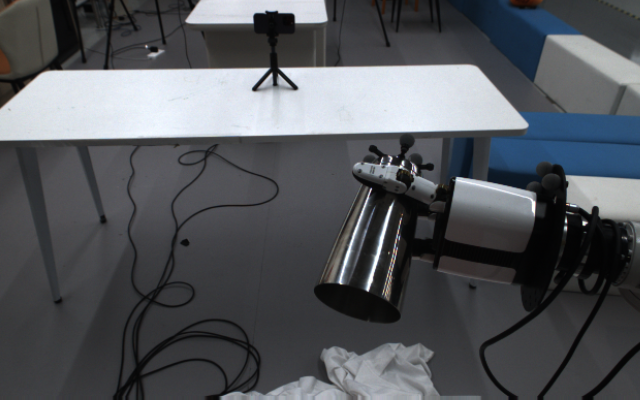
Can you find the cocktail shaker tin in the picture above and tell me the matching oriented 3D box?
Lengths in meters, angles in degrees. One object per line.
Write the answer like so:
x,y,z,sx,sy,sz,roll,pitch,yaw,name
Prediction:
0.064,0.034,0.533,0.093,0.093,0.170,13,59,16,cocktail shaker tin
